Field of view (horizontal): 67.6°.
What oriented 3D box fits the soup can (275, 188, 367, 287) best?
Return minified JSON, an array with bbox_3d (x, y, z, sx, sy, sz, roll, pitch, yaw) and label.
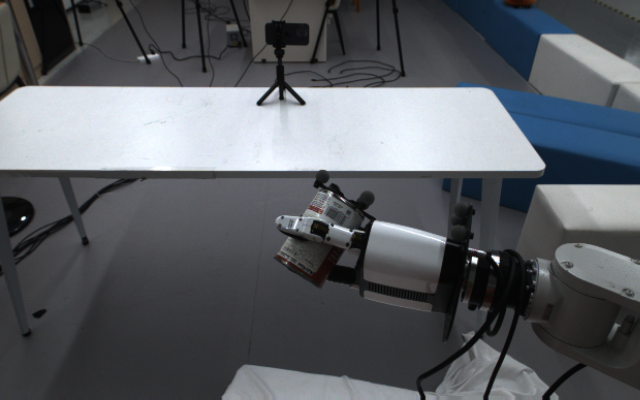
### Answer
[{"bbox_3d":[0.001,0.046,0.586,0.067,0.067,0.101,27,78,31],"label":"soup can"}]
